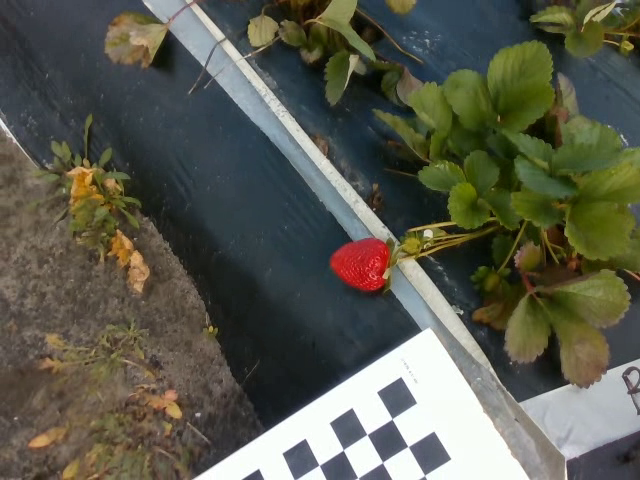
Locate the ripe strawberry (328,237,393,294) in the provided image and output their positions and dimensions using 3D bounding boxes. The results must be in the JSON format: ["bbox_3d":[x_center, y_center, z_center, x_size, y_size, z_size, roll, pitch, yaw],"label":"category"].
[{"bbox_3d":[0.031,0.018,0.456,0.052,0.048,0.030,9,-11,-7],"label":"ripe strawberry"}]
